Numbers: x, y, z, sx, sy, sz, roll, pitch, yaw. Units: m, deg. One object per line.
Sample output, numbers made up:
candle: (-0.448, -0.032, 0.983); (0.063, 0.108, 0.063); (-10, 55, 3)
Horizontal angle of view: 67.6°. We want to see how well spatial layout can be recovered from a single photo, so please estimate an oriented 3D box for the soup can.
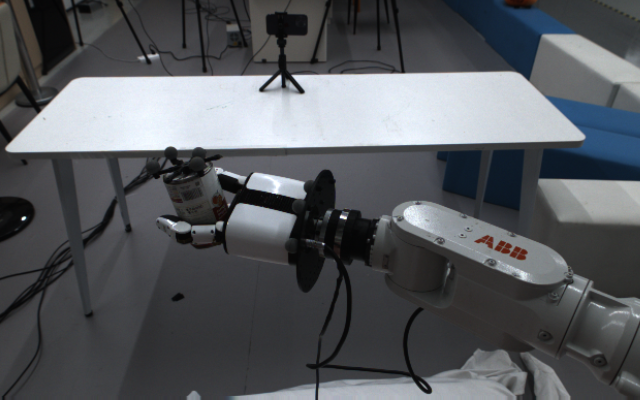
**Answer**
soup can: (-0.158, 0.006, 0.640); (0.067, 0.101, 0.067); (-11, 27, 5)
